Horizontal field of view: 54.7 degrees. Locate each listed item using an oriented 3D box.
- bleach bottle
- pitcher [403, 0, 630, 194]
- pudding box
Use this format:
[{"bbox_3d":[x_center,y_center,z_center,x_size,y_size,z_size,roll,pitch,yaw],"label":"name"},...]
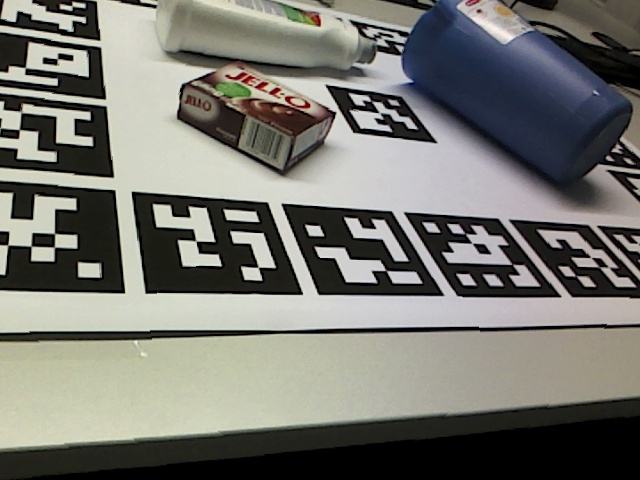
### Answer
[{"bbox_3d":[-0.048,-0.233,0.697,0.249,0.068,0.103,2,45,-28],"label":"bleach bottle"},{"bbox_3d":[0.224,-0.164,0.717,0.244,0.133,0.187,49,10,25],"label":"pitcher"},{"bbox_3d":[-0.055,-0.114,0.556,0.114,0.038,0.090,32,32,11],"label":"pudding box"}]
